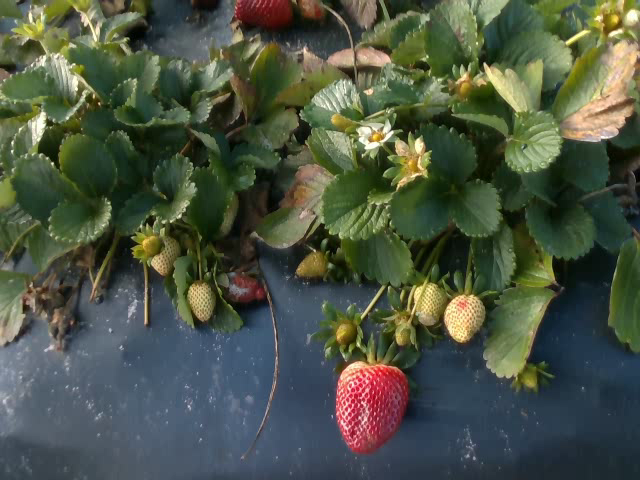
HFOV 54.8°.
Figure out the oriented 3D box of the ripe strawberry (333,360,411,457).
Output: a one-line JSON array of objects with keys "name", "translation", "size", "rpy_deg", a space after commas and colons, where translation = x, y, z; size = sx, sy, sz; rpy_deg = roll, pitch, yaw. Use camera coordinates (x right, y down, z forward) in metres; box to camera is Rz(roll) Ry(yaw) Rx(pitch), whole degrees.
[{"name": "ripe strawberry", "translation": [0.034, 0.119, 0.435], "size": [0.052, 0.068, 0.045], "rpy_deg": [3, -39, 10]}]
